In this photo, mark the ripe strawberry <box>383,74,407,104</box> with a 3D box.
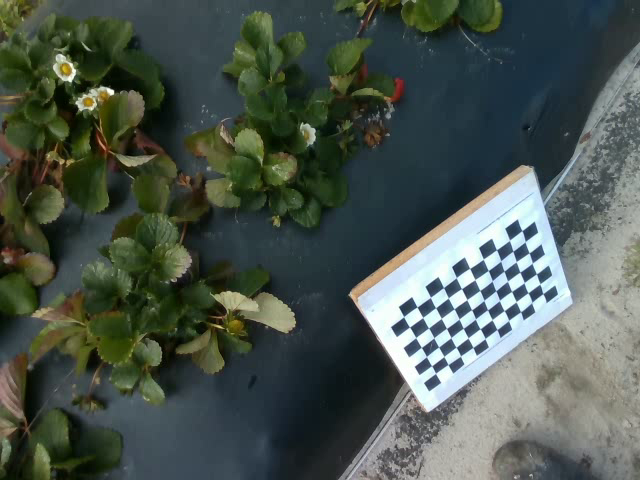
[{"bbox_3d":[0.060,-0.129,0.500,0.021,0.027,0.021,22,24,-45],"label":"ripe strawberry"}]
